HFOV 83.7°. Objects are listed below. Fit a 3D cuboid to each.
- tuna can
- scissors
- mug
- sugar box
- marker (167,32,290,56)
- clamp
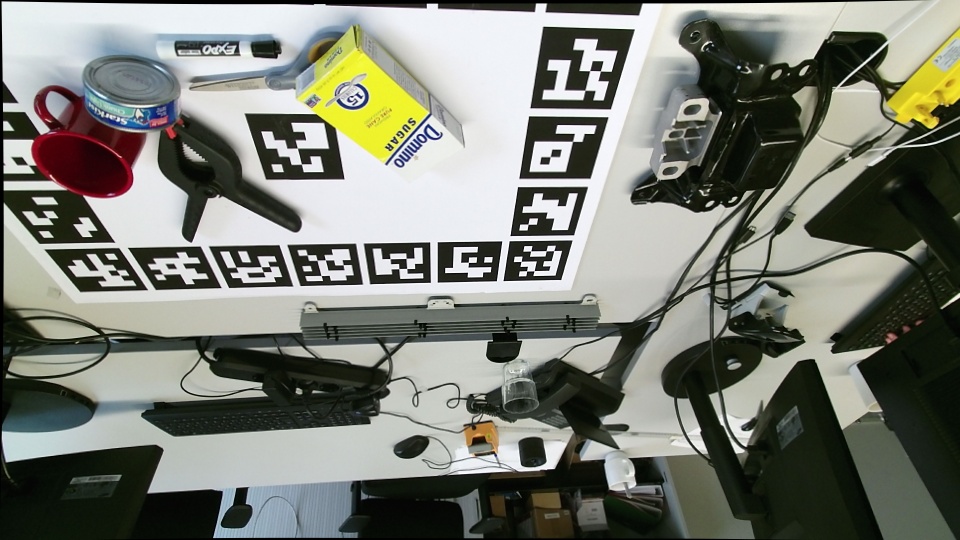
[{"bbox_3d":[-0.364,-0.189,0.559,0.086,0.085,0.034,10,136,-18],"label":"tuna can"},{"bbox_3d":[-0.219,-0.210,0.599,0.203,0.016,0.088,-7,142,4],"label":"scissors"},{"bbox_3d":[-0.427,-0.155,0.596,0.093,0.081,0.117,-20,140,15],"label":"mug"},{"bbox_3d":[-0.113,-0.186,0.616,0.093,0.045,0.177,-27,140,22],"label":"sugar box"},{"bbox_3d":[-0.263,-0.238,0.565,0.121,0.019,0.019,-4,137,-3],"label":"marker"},{"bbox_3d":[-0.344,-0.118,0.692,0.166,0.036,0.203,-8,137,3],"label":"clamp"}]
